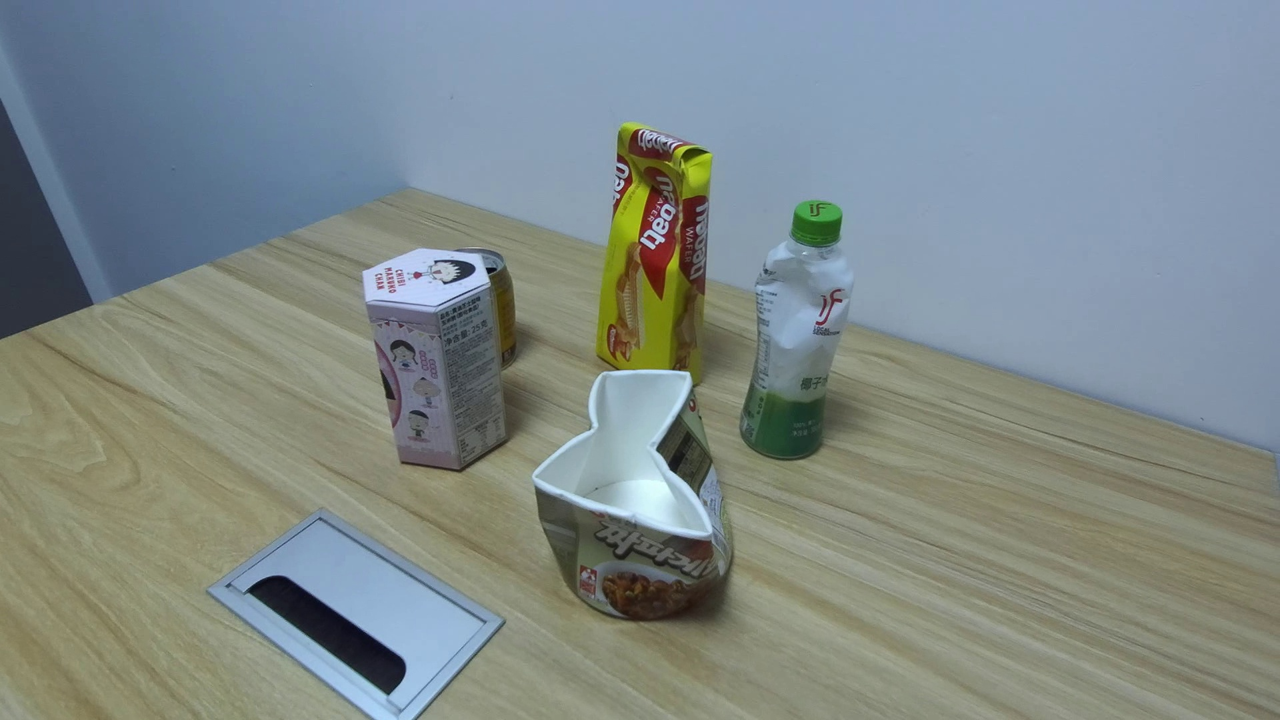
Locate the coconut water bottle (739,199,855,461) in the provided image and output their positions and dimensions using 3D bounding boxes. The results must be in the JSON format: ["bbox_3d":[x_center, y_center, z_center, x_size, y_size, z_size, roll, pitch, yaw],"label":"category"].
[{"bbox_3d":[0.111,-0.019,0.496,0.069,0.187,0.069,2,34,-1],"label":"coconut water bottle"}]

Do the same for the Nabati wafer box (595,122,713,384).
[{"bbox_3d":[0.009,-0.075,0.560,0.043,0.205,0.113,-23,40,-36],"label":"Nabati wafer box"}]

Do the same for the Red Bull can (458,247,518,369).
[{"bbox_3d":[-0.143,-0.041,0.609,0.068,0.093,0.068,2,34,-1],"label":"Red Bull can"}]

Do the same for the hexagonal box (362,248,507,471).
[{"bbox_3d":[-0.144,0.001,0.504,0.084,0.136,0.091,-10,35,-18],"label":"hexagonal box"}]

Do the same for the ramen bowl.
[{"bbox_3d":[0.006,0.079,0.431,0.111,0.093,0.128,12,36,14],"label":"ramen bowl"}]
